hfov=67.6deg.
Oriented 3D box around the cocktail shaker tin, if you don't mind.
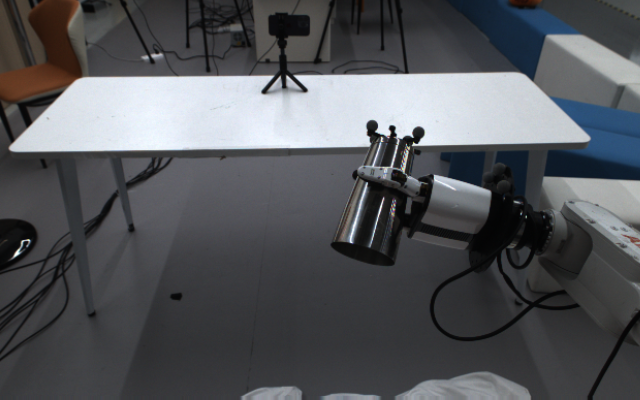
[{"bbox_3d":[0.082,-0.003,0.688,0.093,0.093,0.170,13,70,15],"label":"cocktail shaker tin"}]
